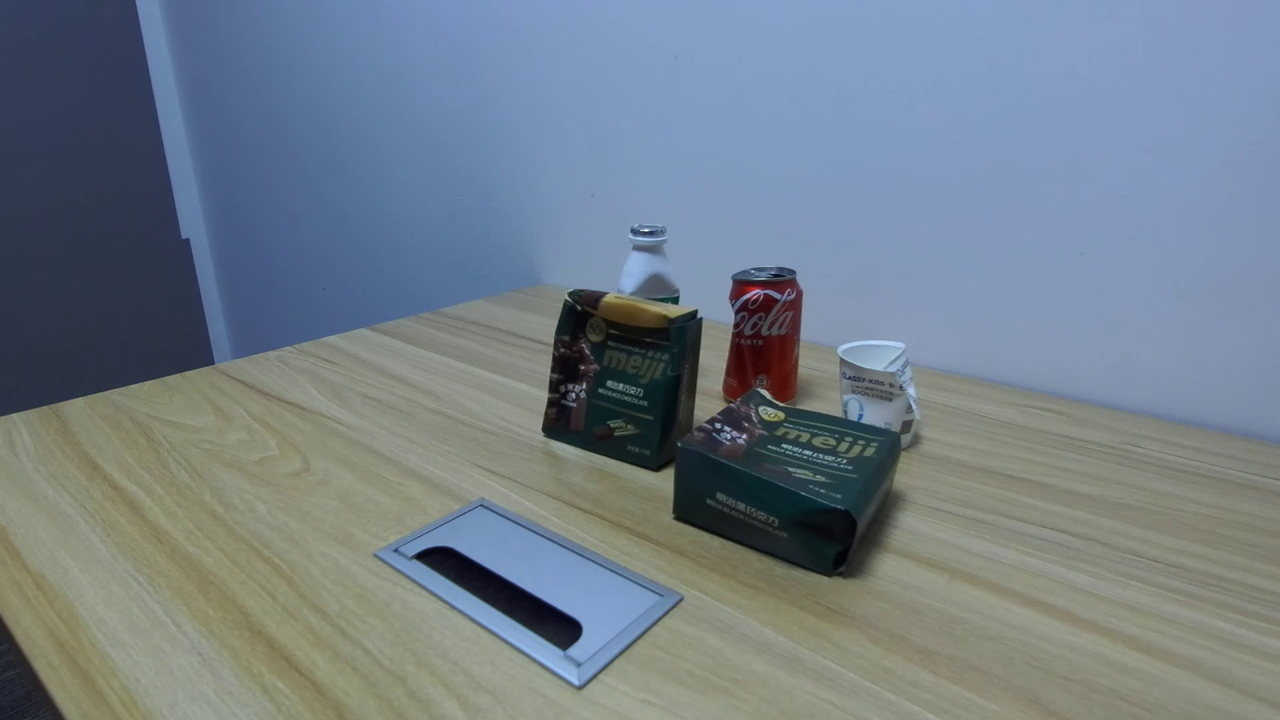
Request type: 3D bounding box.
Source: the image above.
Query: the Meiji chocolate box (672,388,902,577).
[{"bbox_3d":[0.095,0.073,0.444,0.115,0.058,0.123,16,26,30],"label":"Meiji chocolate box"}]

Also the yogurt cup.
[{"bbox_3d":[0.183,0.028,0.547,0.067,0.070,0.067,-1,23,1],"label":"yogurt cup"}]

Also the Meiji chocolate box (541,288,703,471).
[{"bbox_3d":[-0.012,0.010,0.529,0.117,0.117,0.052,13,15,30],"label":"Meiji chocolate box"}]

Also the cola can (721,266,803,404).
[{"bbox_3d":[0.107,-0.019,0.607,0.065,0.117,0.072,13,23,27],"label":"cola can"}]

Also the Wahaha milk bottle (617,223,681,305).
[{"bbox_3d":[0.006,-0.044,0.629,0.056,0.147,0.056,1,21,0],"label":"Wahaha milk bottle"}]
